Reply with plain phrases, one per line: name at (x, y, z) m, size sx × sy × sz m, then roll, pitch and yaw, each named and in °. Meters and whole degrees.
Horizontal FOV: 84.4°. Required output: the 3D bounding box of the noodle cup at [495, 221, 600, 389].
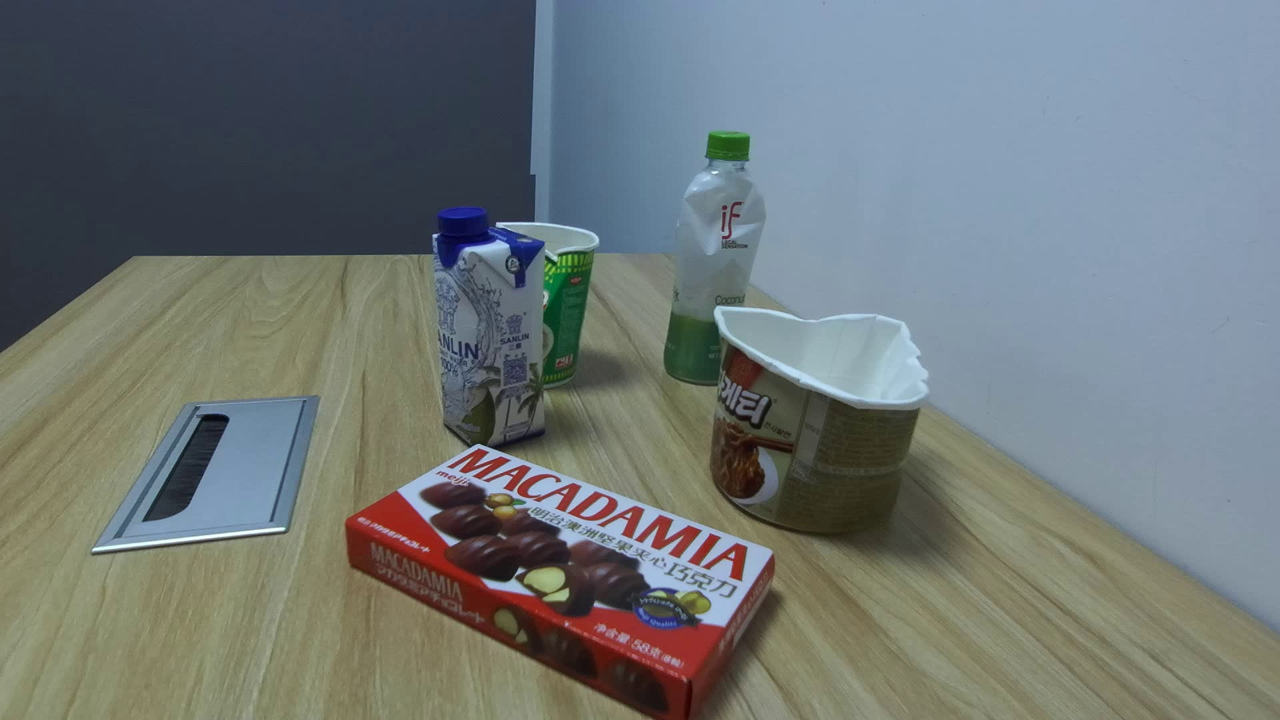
noodle cup at (-0.078, -0.040, 0.533) m, size 0.075 × 0.122 × 0.082 m, roll 7°, pitch 12°, yaw -16°

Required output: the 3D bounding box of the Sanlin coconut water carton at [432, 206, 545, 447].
Sanlin coconut water carton at (-0.093, -0.021, 0.440) m, size 0.061 × 0.144 × 0.060 m, roll -14°, pitch 27°, yaw -39°

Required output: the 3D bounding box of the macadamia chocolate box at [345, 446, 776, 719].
macadamia chocolate box at (-0.037, 0.091, 0.325) m, size 0.177 × 0.027 × 0.096 m, roll 15°, pitch 23°, yaw 25°

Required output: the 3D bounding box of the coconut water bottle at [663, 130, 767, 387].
coconut water bottle at (0.057, -0.077, 0.540) m, size 0.067 × 0.187 × 0.067 m, roll 4°, pitch 22°, yaw -1°

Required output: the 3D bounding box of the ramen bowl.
ramen bowl at (0.100, 0.033, 0.398) m, size 0.113 × 0.097 × 0.133 m, roll 3°, pitch 22°, yaw -3°
